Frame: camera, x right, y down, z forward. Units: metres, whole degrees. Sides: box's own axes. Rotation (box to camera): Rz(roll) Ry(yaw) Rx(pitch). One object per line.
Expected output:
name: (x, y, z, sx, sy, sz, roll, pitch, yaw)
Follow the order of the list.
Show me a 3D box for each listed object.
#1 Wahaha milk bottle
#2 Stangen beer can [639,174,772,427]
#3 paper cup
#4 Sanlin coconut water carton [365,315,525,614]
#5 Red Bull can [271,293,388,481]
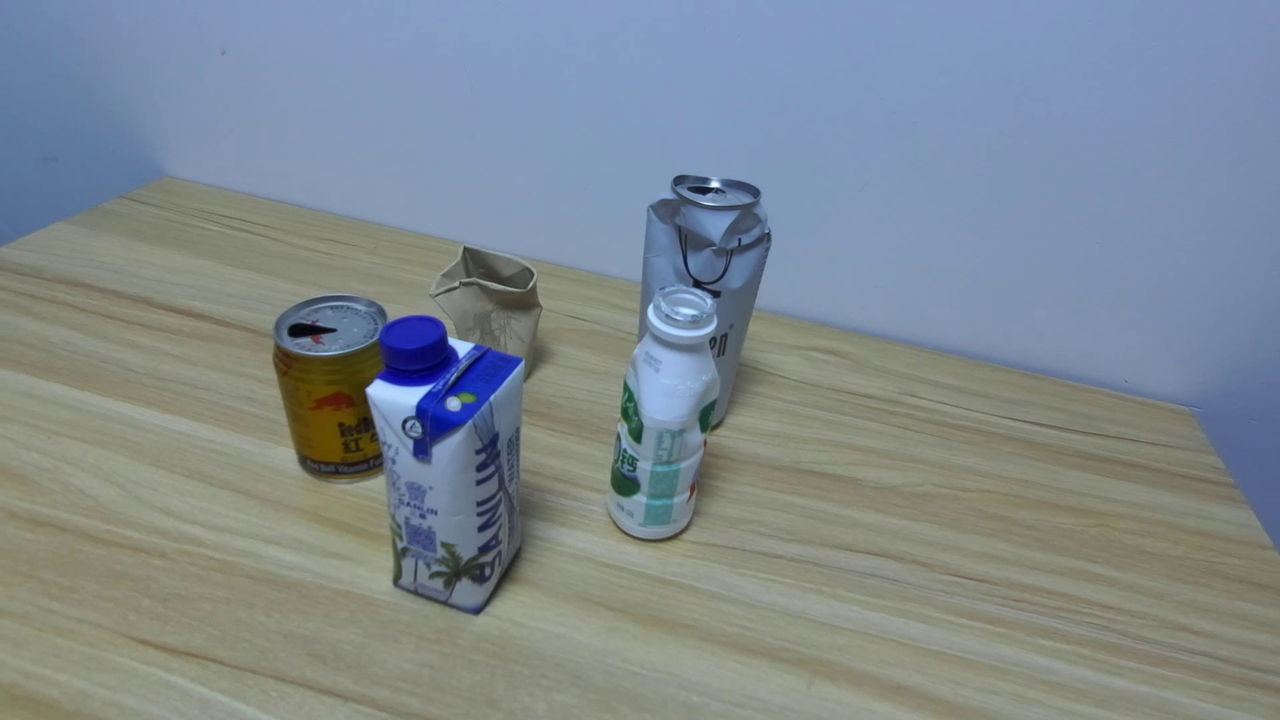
Wahaha milk bottle: (0.016, 0.031, 0.377, 0.056, 0.149, 0.055, 6, 37, -4)
Stangen beer can: (0.037, -0.032, 0.453, 0.066, 0.166, 0.065, -22, 43, -36)
paper cup: (-0.106, -0.024, 0.489, 0.066, 0.083, 0.058, 18, 40, 17)
Sanlin coconut water carton: (-0.090, 0.051, 0.341, 0.060, 0.144, 0.060, 15, 35, 11)
Red Bull can: (-0.172, 0.016, 0.411, 0.067, 0.093, 0.067, 7, 39, -5)
